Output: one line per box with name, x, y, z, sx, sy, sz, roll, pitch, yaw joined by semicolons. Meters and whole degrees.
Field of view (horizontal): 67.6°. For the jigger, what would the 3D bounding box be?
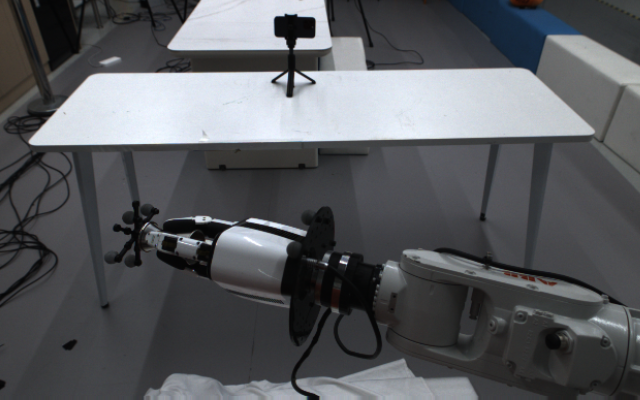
jigger;-0.177;0.049;0.597;0.071;0.043;0.043;10;35;16
